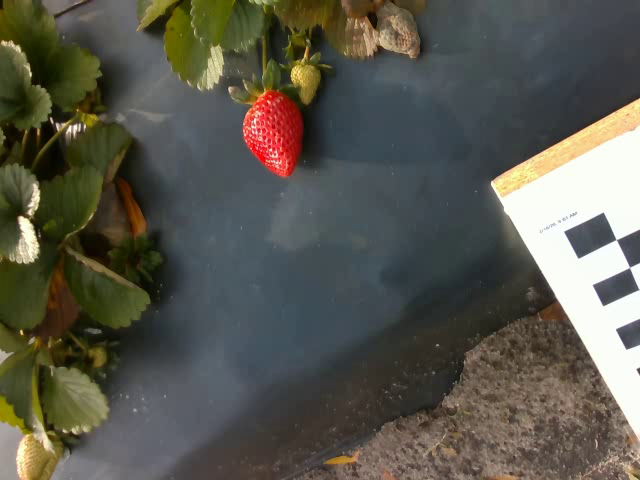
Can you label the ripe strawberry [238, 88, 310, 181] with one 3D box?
[{"bbox_3d":[-0.026,-0.059,0.358,0.045,0.058,0.050,-26,-17,17],"label":"ripe strawberry"}]
